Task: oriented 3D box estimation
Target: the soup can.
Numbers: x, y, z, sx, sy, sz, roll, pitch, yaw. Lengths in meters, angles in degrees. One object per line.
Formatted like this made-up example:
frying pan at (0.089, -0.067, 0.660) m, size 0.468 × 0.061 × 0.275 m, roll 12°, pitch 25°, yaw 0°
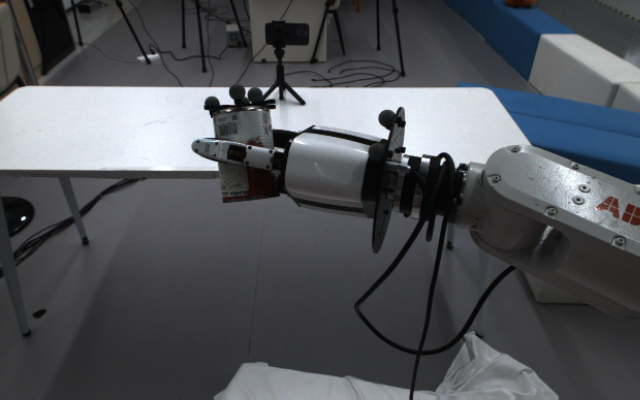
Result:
soup can at (-0.082, -0.050, 0.557) m, size 0.067 × 0.101 × 0.067 m, roll -7°, pitch 3°, yaw 0°
